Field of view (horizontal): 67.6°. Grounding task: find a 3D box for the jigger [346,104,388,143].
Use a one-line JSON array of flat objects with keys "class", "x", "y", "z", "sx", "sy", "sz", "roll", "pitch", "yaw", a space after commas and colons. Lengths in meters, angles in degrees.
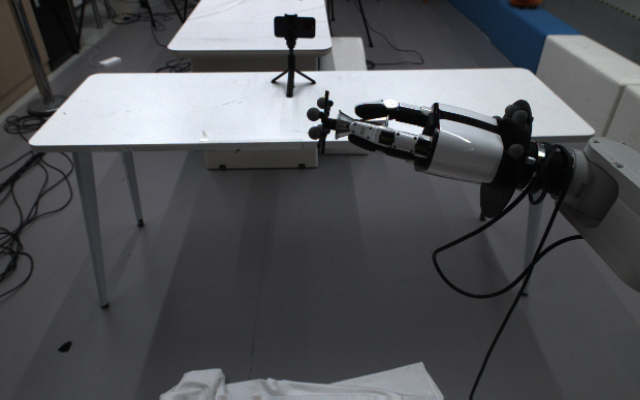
[{"class": "jigger", "x": 0.064, "y": -0.103, "z": 0.659, "sx": 0.071, "sy": 0.043, "sz": 0.043, "roll": 7, "pitch": 35, "yaw": 7}]
